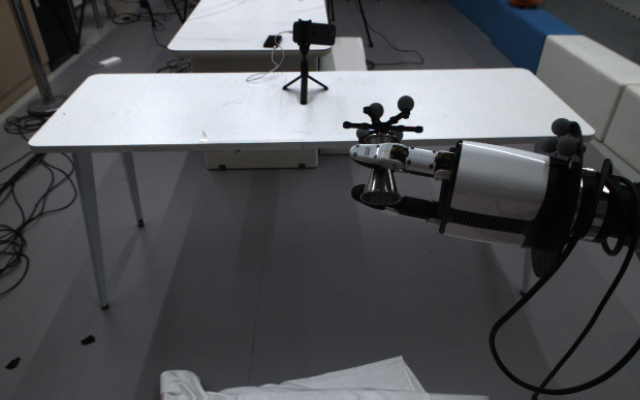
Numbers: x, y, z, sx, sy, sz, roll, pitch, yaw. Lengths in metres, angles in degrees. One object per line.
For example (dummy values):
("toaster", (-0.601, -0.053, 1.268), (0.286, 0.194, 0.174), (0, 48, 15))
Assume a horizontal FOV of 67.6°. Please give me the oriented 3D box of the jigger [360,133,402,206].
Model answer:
("jigger", (0.065, -0.034, 0.529), (0.043, 0.043, 0.071), (4, 71, 3))
